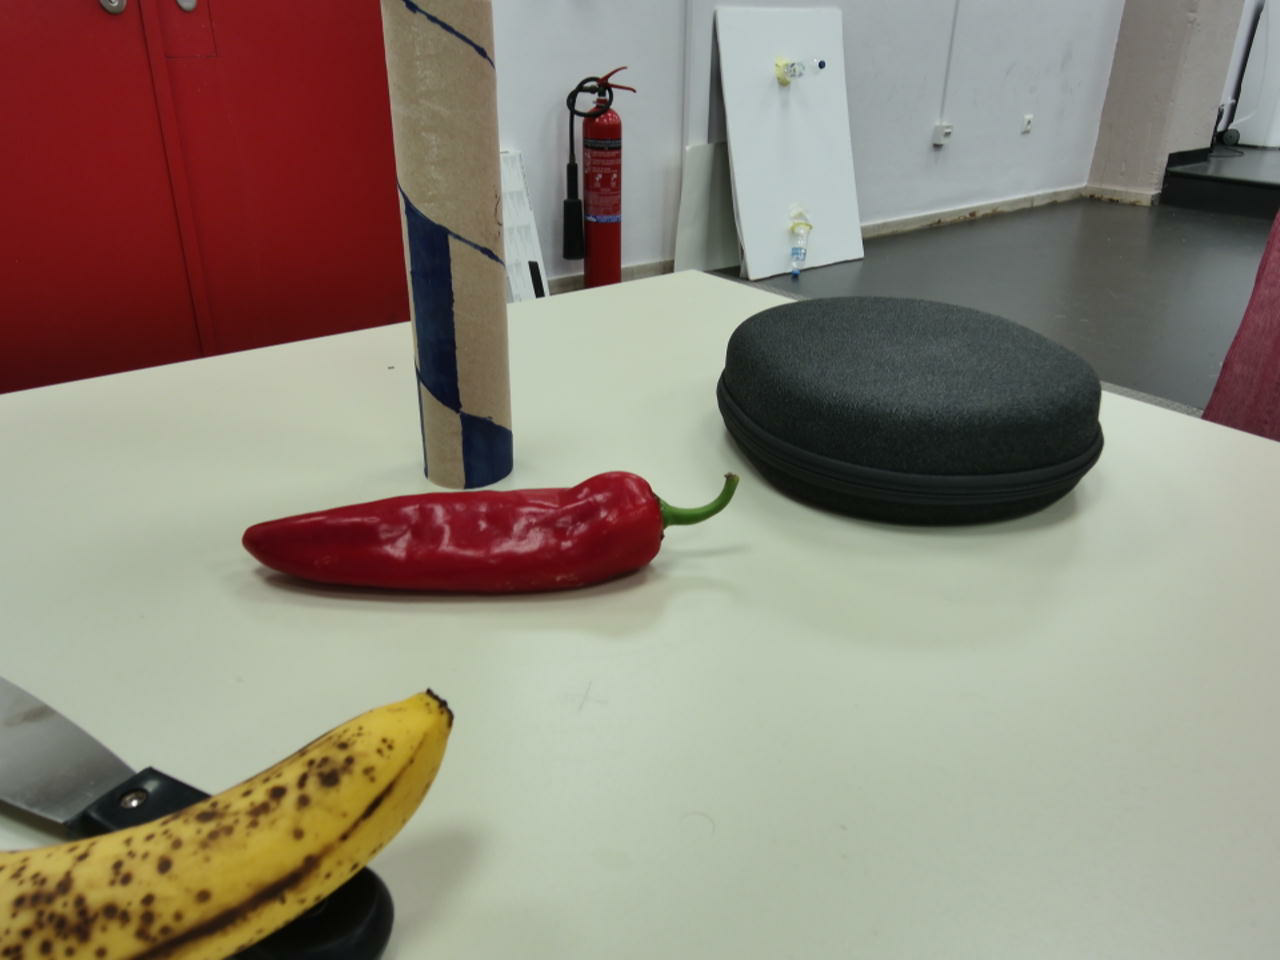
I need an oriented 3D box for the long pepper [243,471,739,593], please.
[{"bbox_3d":[-0.060,0.022,0.420,0.211,0.043,0.050,-3,24,-6],"label":"long pepper"}]
